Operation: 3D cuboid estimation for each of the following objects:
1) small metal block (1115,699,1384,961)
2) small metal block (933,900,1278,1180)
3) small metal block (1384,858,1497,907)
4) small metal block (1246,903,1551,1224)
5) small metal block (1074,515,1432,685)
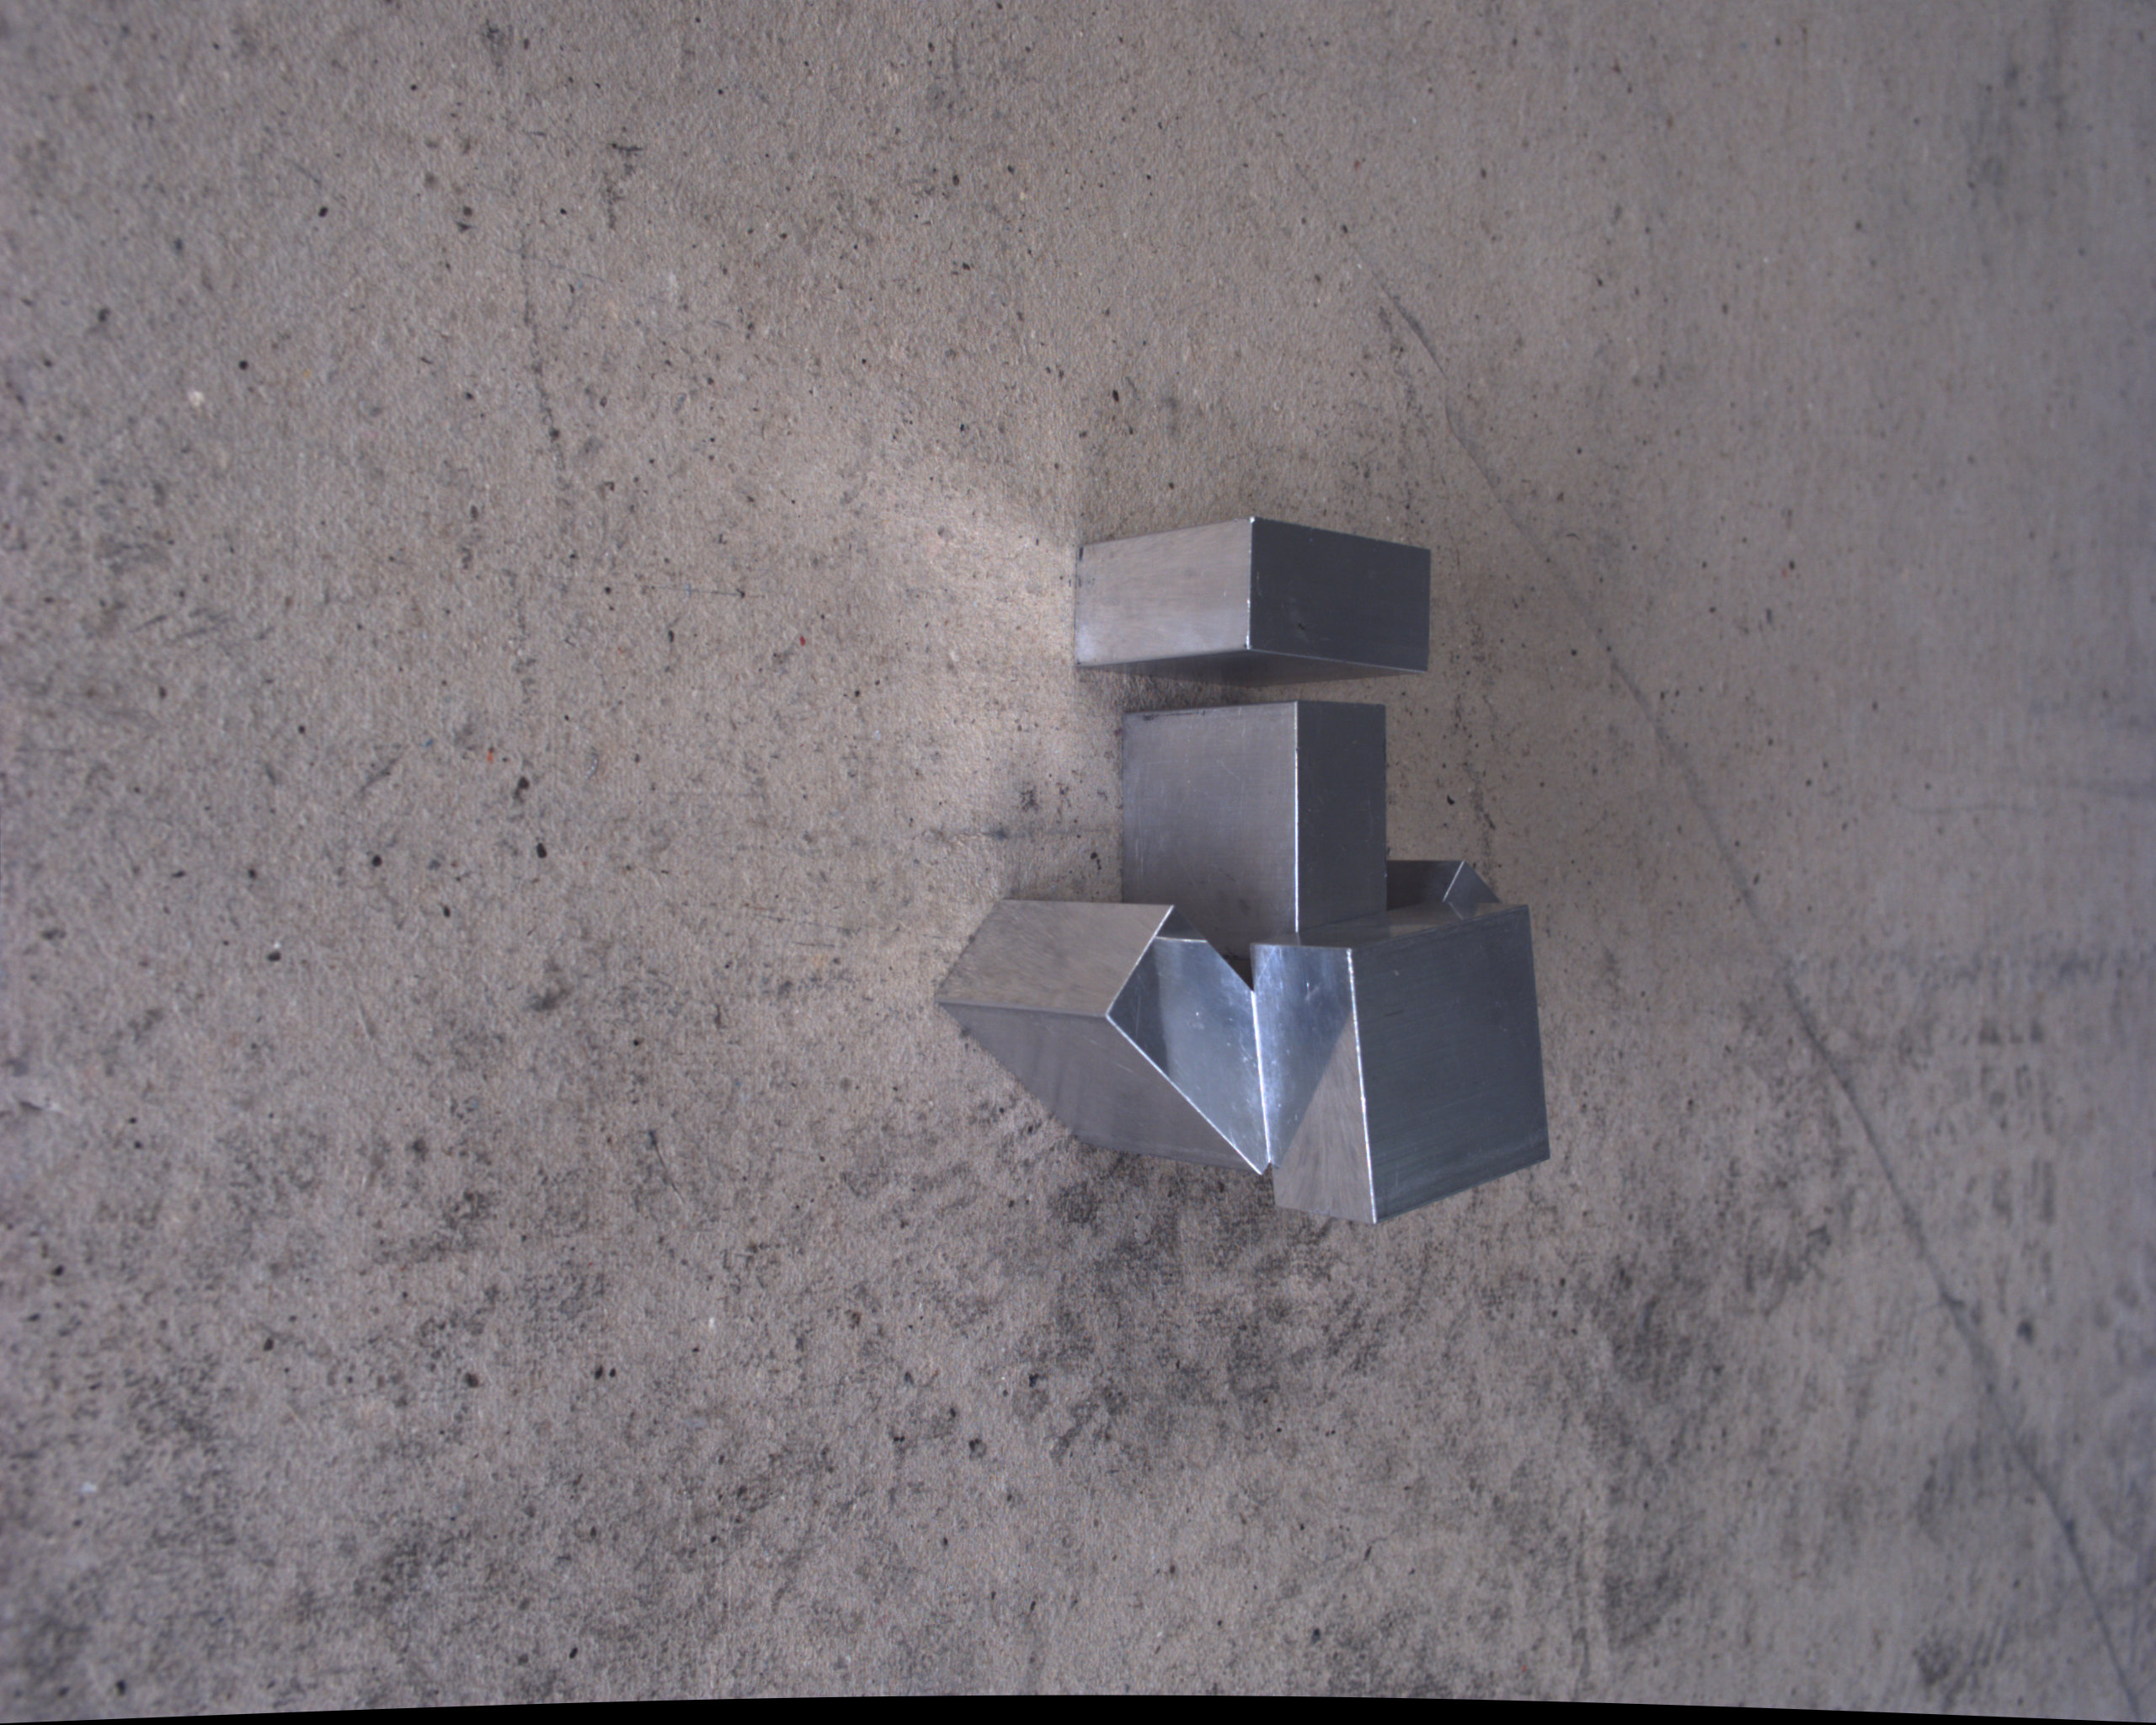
[{"bbox_3d":[0.034,-0.006,0.419,0.025,0.050,0.050,-1,90,-41],"label":"small metal block"},{"bbox_3d":[0.010,0.033,0.397,0.050,0.050,0.025,48,61,-31],"label":"small metal block"},{"bbox_3d":[0.058,0.026,0.439,0.025,0.050,0.050,45,63,-31],"label":"small metal block"},{"bbox_3d":[0.061,0.036,0.393,0.050,0.025,0.050,-10,96,-39],"label":"small metal block"},{"bbox_3d":[0.035,-0.051,0.418,0.050,0.050,0.025,2,89,-40],"label":"small metal block"}]
